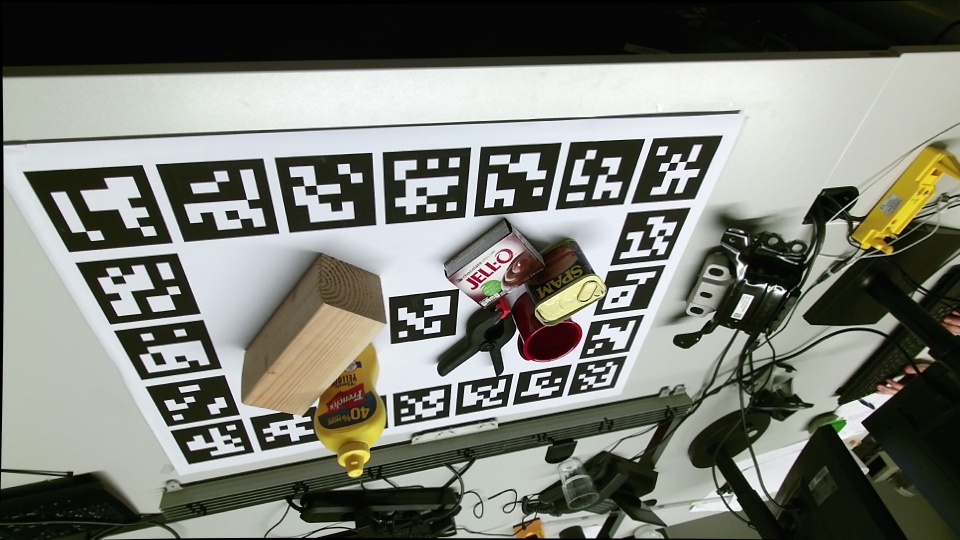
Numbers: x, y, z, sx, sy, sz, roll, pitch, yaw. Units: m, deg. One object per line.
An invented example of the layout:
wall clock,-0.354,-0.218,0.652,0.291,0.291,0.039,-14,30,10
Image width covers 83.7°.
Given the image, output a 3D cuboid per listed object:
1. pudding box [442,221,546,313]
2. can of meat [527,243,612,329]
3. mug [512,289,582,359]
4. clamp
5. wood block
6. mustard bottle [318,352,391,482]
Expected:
pudding box,0.019,-0.002,0.737,0.114,0.038,0.090,-36,131,14
can of meat,0.120,0.020,0.754,0.102,0.083,0.058,-30,131,7
mug,0.094,0.086,0.841,0.094,0.081,0.117,12,123,-28
clamp,0.011,0.124,0.850,0.122,0.036,0.165,10,123,-25
wood block,-0.222,0.093,0.704,0.090,0.090,0.206,26,119,-37
mustard bottle,-0.175,0.202,0.740,0.096,0.190,0.058,-11,131,-11
